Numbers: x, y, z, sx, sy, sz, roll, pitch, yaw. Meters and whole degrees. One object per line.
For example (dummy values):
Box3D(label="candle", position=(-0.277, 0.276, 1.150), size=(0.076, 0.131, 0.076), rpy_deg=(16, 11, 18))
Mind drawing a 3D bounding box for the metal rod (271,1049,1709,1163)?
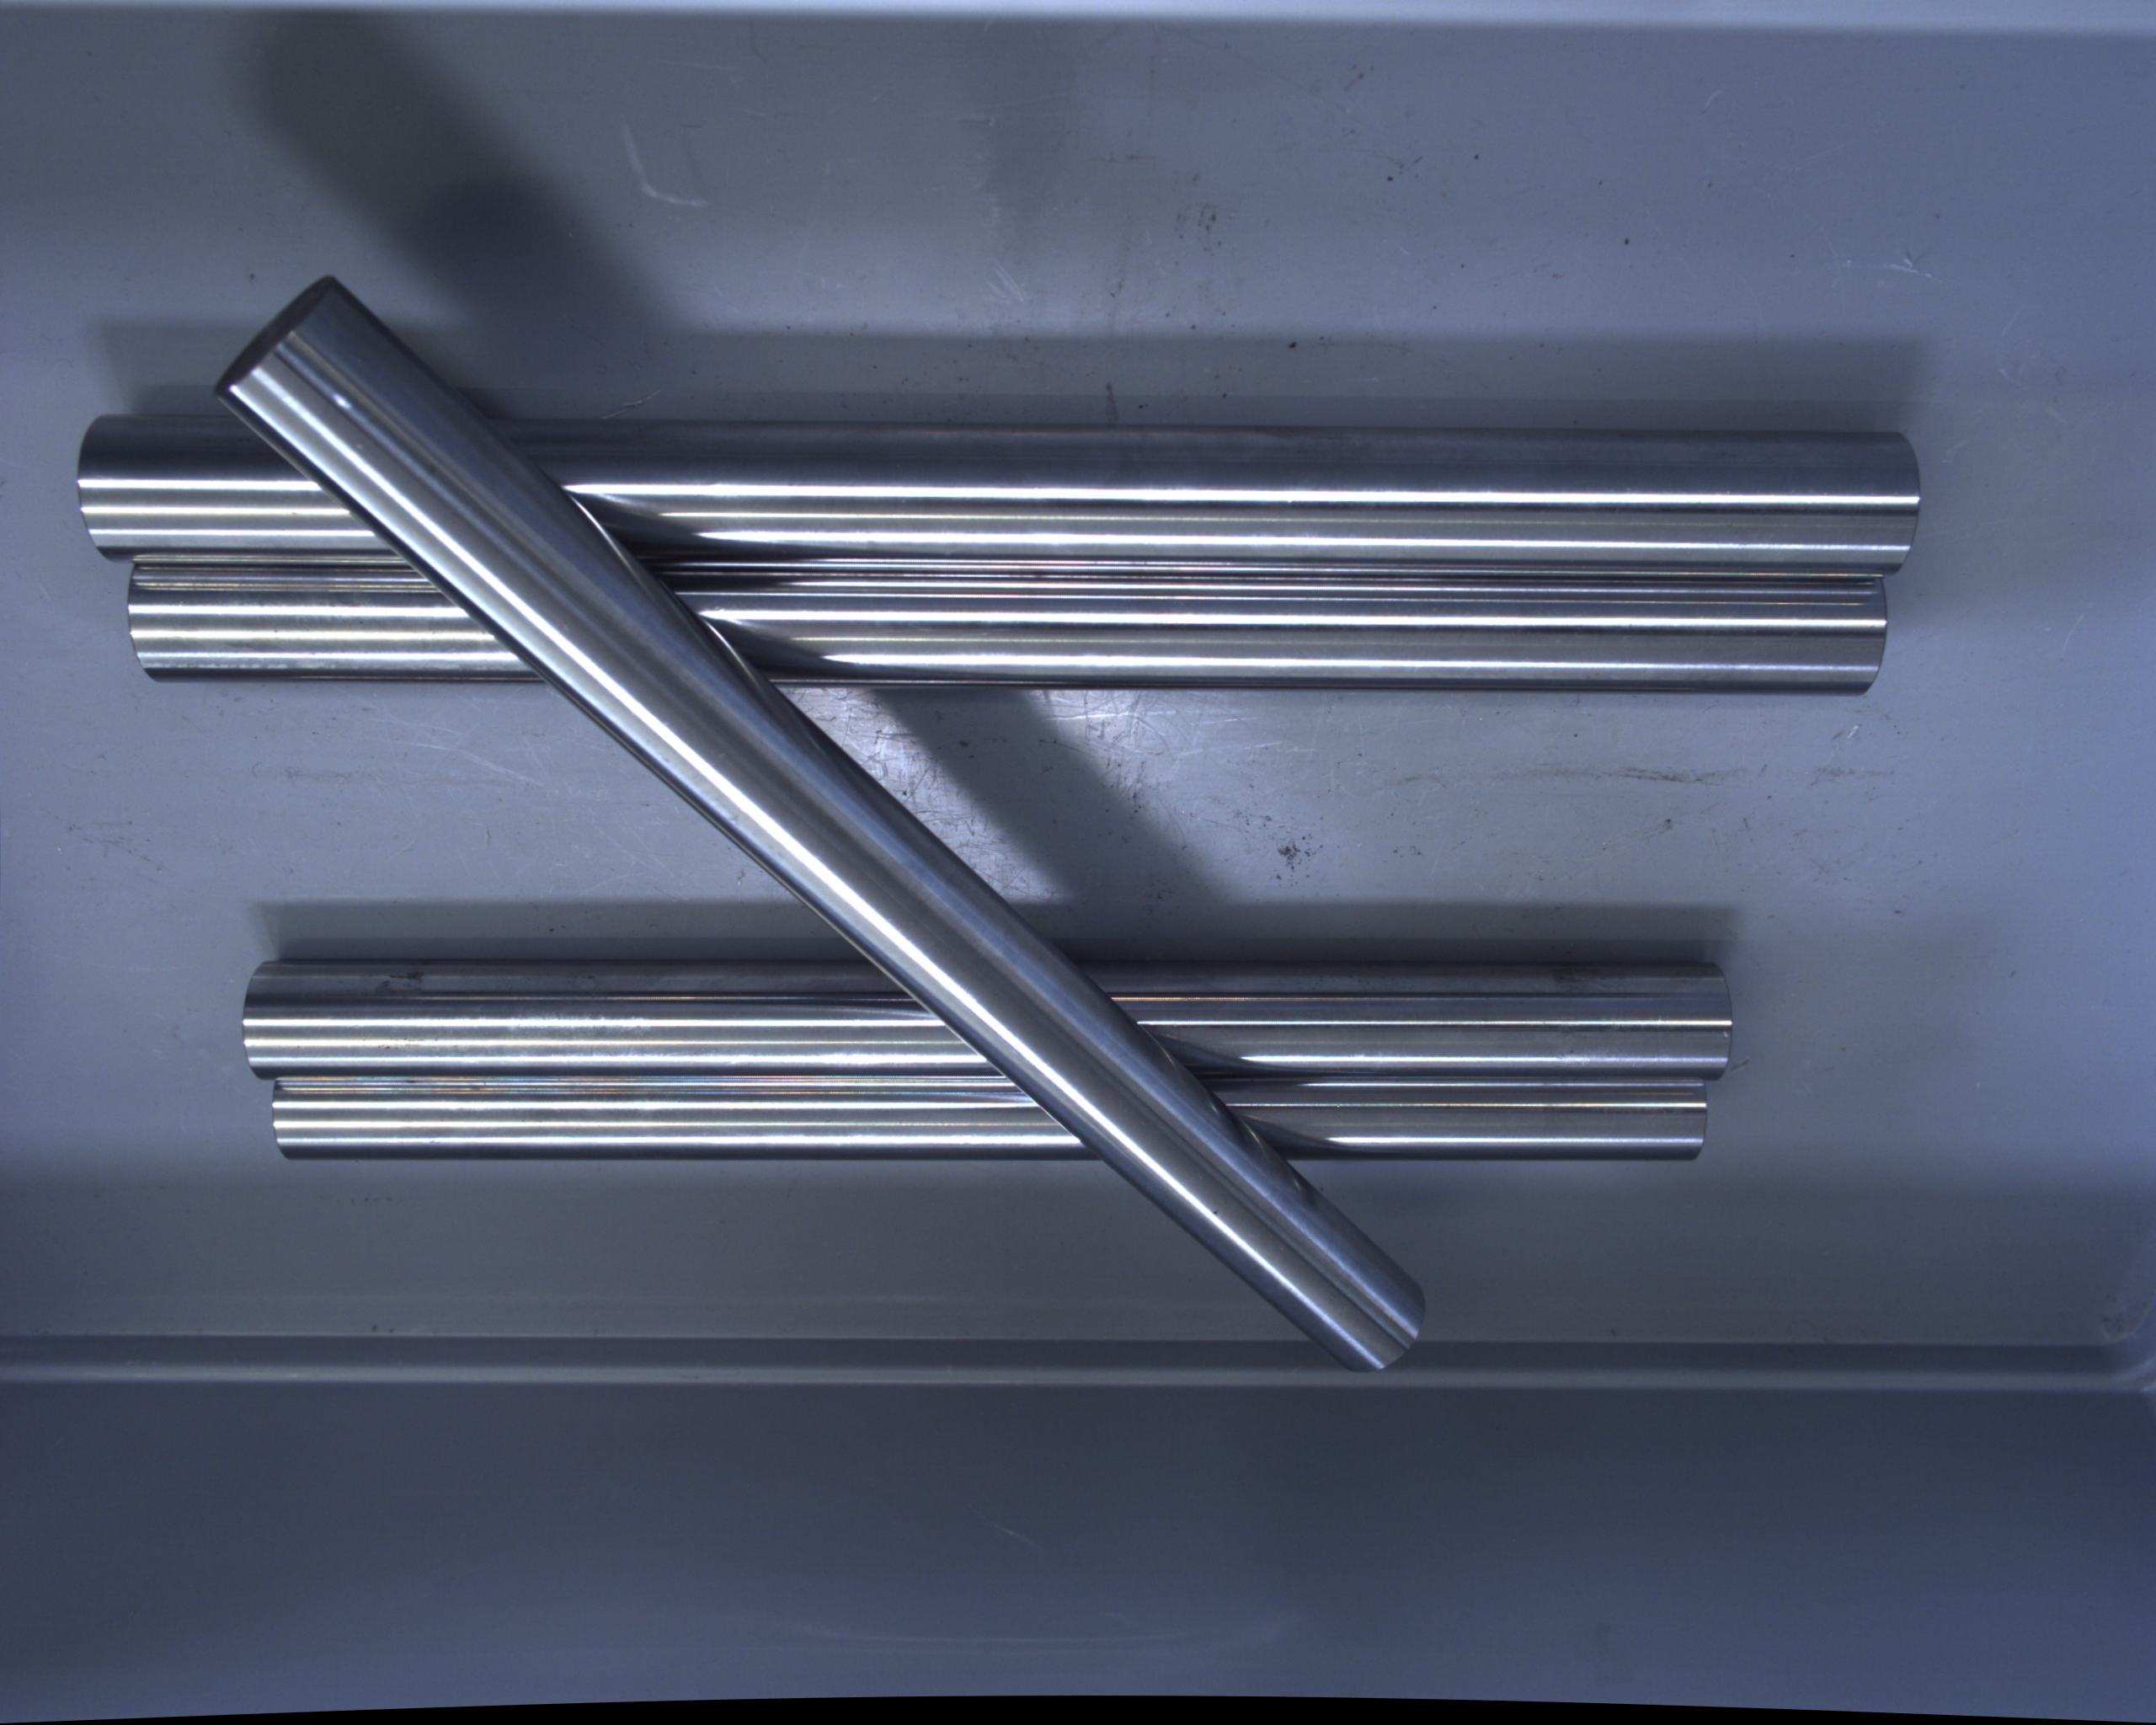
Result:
Box3D(label="metal rod", position=(-0.018, 0.052, 0.451), size=(0.302, 0.025, 0.025), rpy_deg=(0, 130, -1))

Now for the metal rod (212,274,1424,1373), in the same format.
Box3D(label="metal rod", position=(-0.026, 0.012, 0.385), size=(0.025, 0.025, 0.300), rpy_deg=(-31, 124, 23))

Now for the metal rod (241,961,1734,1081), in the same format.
Box3D(label="metal rod", position=(-0.018, 0.033, 0.434), size=(0.302, 0.025, 0.025), rpy_deg=(0, 130, -1))

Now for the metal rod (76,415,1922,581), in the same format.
Box3D(label="metal rod", position=(-0.012, -0.062, 0.354), size=(0.302, 0.025, 0.025), rpy_deg=(0, 130, -1))

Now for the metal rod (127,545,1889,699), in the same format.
Box3D(label="metal rod", position=(-0.011, -0.043, 0.370), size=(0.302, 0.025, 0.025), rpy_deg=(0, 130, -1))
